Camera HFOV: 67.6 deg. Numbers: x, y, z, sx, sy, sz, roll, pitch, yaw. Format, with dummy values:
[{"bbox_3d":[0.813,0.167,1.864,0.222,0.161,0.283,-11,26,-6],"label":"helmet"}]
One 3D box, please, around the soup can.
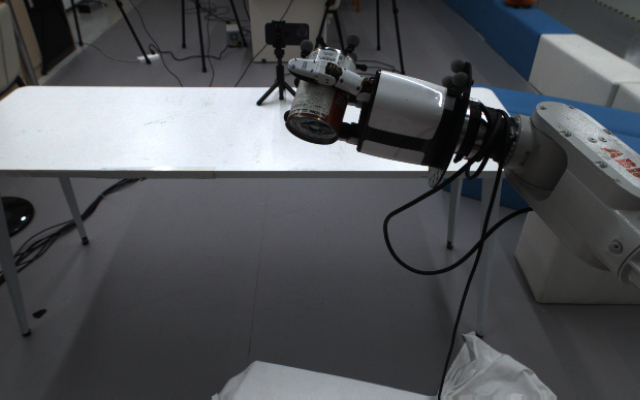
[{"bbox_3d":[0.004,-0.130,0.610,0.067,0.067,0.101,11,72,13],"label":"soup can"}]
